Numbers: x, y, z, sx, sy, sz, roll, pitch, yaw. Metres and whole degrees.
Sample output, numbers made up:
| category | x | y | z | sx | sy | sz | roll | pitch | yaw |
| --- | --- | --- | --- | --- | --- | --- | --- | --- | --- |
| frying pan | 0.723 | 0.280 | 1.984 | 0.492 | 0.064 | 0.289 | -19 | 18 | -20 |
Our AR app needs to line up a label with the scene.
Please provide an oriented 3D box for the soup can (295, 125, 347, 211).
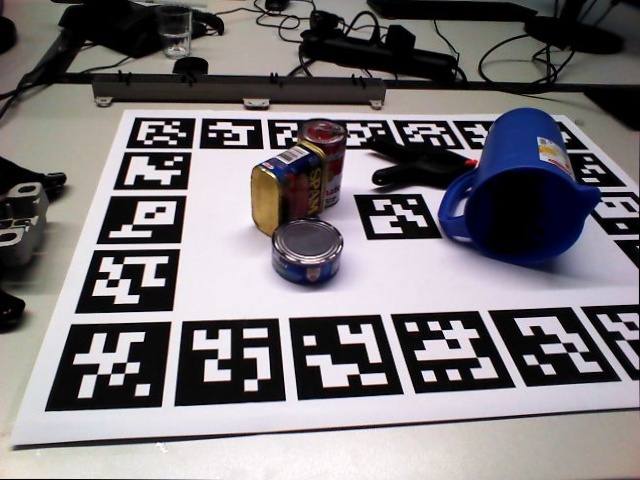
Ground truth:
| category | x | y | z | sx | sy | sz | roll | pitch | yaw |
| --- | --- | --- | --- | --- | --- | --- | --- | --- | --- |
| soup can | 0.000 | -0.097 | 0.714 | 0.068 | 0.102 | 0.067 | 1 | 43 | -1 |

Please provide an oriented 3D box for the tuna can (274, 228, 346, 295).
| category | x | y | z | sx | sy | sz | roll | pitch | yaw |
| --- | --- | --- | --- | --- | --- | --- | --- | --- | --- |
| tuna can | -0.013 | 0.025 | 0.620 | 0.086 | 0.034 | 0.085 | 3 | 43 | -3 |

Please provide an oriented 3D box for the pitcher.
| category | x | y | z | sx | sy | sz | roll | pitch | yaw |
| --- | --- | --- | --- | --- | --- | --- | --- | --- | --- |
| pitcher | 0.275 | -0.084 | 0.695 | 0.190 | 0.133 | 0.241 | -5 | 29 | 22 |

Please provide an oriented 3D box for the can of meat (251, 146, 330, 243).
| category | x | y | z | sx | sy | sz | roll | pitch | yaw |
| --- | --- | --- | --- | --- | --- | --- | --- | --- | --- |
| can of meat | -0.038 | -0.055 | 0.654 | 0.083 | 0.102 | 0.058 | -31 | 54 | -30 |

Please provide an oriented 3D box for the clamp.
| category | x | y | z | sx | sy | sz | roll | pitch | yaw |
| --- | --- | --- | --- | --- | --- | --- | --- | --- | --- |
| clamp | 0.146 | -0.108 | 0.803 | 0.165 | 0.037 | 0.121 | 3 | 37 | -8 |
